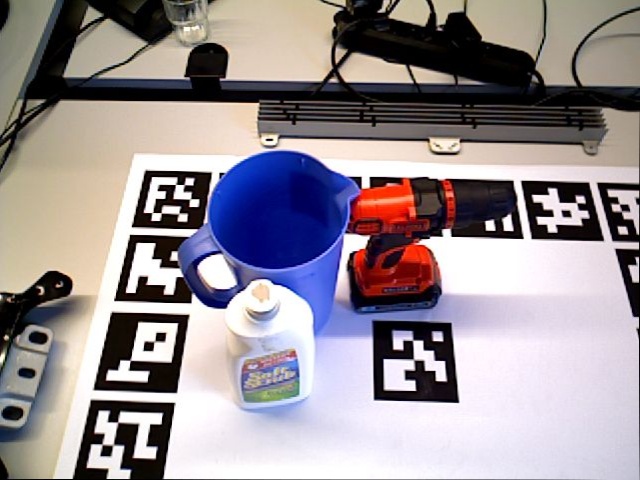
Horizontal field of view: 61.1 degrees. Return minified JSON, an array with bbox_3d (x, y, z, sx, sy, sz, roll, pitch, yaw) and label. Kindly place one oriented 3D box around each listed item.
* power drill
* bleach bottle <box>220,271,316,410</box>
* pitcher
[{"bbox_3d":[0.126,0.013,0.591,0.183,0.190,0.057,-1,63,-7],"label":"power drill"},{"bbox_3d":[-0.055,0.098,0.514,0.102,0.255,0.067,-5,61,-3],"label":"bleach bottle"},{"bbox_3d":[-0.042,0.020,0.578,0.187,0.247,0.132,-22,65,-12],"label":"pitcher"}]
